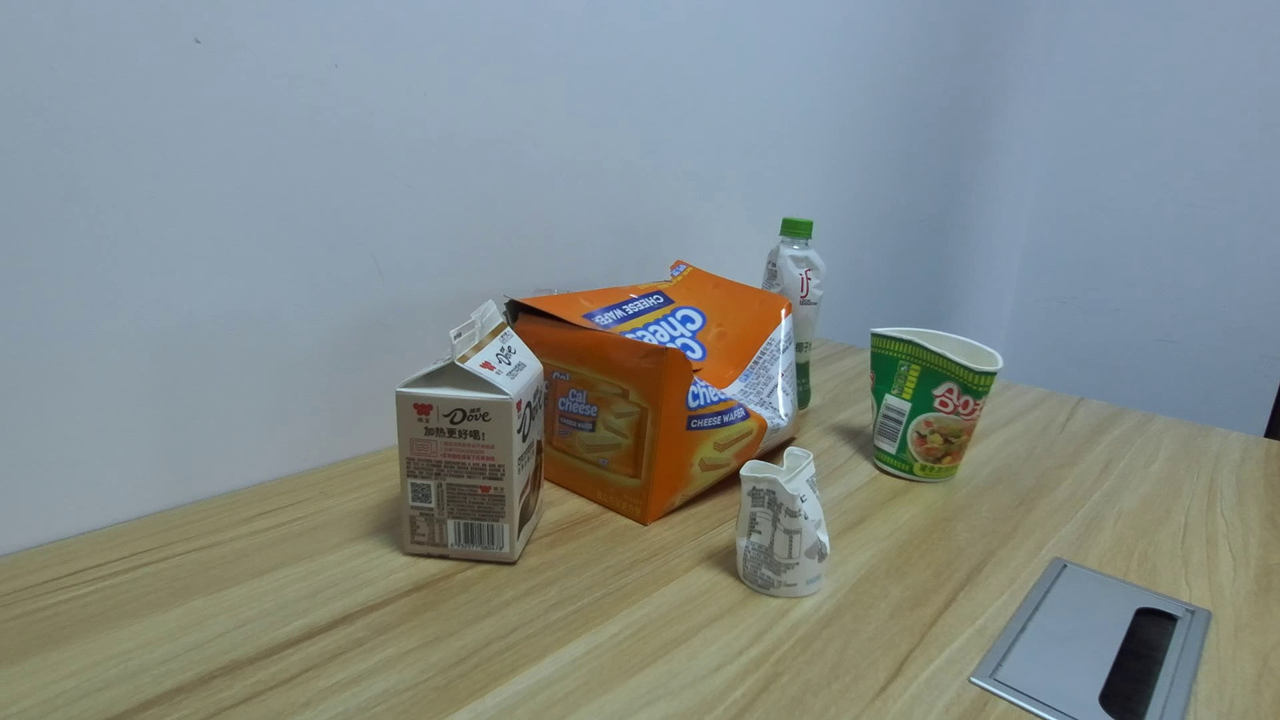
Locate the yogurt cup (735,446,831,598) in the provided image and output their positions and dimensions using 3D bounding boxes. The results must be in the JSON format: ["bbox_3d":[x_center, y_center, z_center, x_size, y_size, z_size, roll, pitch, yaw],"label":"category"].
[{"bbox_3d":[0.084,0.096,0.422,0.055,0.072,0.055,-14,21,-39],"label":"yogurt cup"}]

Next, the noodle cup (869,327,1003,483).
[{"bbox_3d":[0.232,0.036,0.576,0.070,0.111,0.115,0,18,-4],"label":"noodle cup"}]

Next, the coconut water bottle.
[{"bbox_3d":[0.151,-0.048,0.712,0.067,0.187,0.067,2,16,0],"label":"coconut water bottle"}]

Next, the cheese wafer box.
[{"bbox_3d":[0.033,0.012,0.576,0.190,0.145,0.220,15,20,37],"label":"cheese wafer box"}]

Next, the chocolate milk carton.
[{"bbox_3d":[-0.104,0.041,0.448,0.074,0.148,0.075,4,16,5],"label":"chocolate milk carton"}]
